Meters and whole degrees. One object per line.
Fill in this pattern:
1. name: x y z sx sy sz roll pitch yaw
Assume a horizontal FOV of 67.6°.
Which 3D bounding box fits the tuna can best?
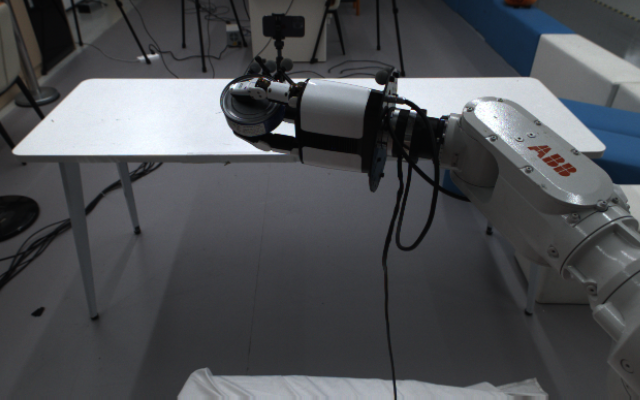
1. tuna can: -0.091 -0.130 0.663 0.085 0.034 0.085 -2 60 3
